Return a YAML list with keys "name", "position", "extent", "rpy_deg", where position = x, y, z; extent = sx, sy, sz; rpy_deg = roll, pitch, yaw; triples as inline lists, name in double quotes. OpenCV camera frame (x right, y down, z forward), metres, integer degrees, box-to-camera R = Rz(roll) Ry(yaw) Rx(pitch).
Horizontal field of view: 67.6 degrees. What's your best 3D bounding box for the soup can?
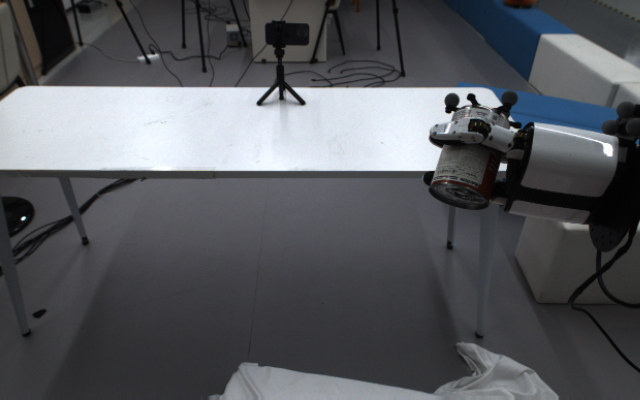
- name: "soup can"
  position: [0.174, -0.050, 0.556]
  extent: [0.067, 0.067, 0.101]
  rpy_deg: [15, 75, 18]
